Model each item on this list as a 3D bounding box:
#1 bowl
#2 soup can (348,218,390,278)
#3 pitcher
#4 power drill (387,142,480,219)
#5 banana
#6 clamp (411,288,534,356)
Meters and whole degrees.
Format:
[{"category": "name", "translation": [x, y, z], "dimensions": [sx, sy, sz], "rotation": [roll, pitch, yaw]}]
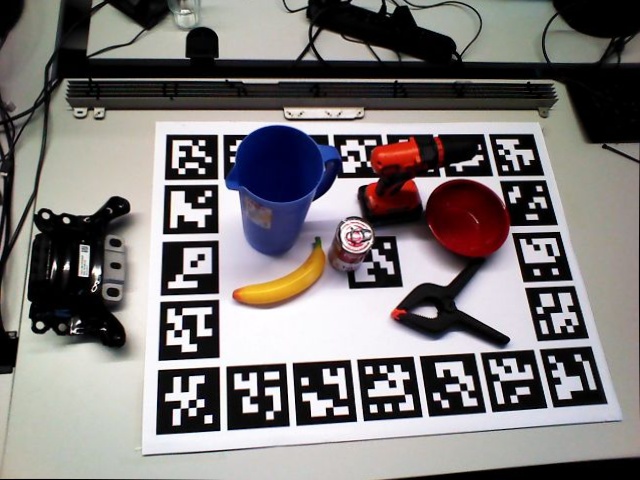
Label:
[{"category": "bowl", "translation": [0.306, -0.021, 0.966], "dimensions": [0.162, 0.055, 0.161], "rotation": [2, 70, -6]}, {"category": "soup can", "translation": [0.087, 0.015, 0.903], "dimensions": [0.068, 0.102, 0.067], "rotation": [2, 60, -5]}, {"category": "pitcher", "translation": [-0.030, -0.065, 0.844], "dimensions": [0.188, 0.243, 0.133], "rotation": [-25, 70, -16]}, {"category": "power drill", "translation": [0.203, -0.102, 0.895], "dimensions": [0.184, 0.188, 0.057], "rotation": [-6, 69, -10]}, {"category": "banana", "translation": [-0.036, 0.078, 0.900], "dimensions": [0.197, 0.039, 0.074], "rotation": [-26, 65, -17]}, {"category": "clamp", "translation": [0.260, 0.128, 0.905], "dimensions": [0.203, 0.037, 0.165], "rotation": [-4, 73, -8]}]
